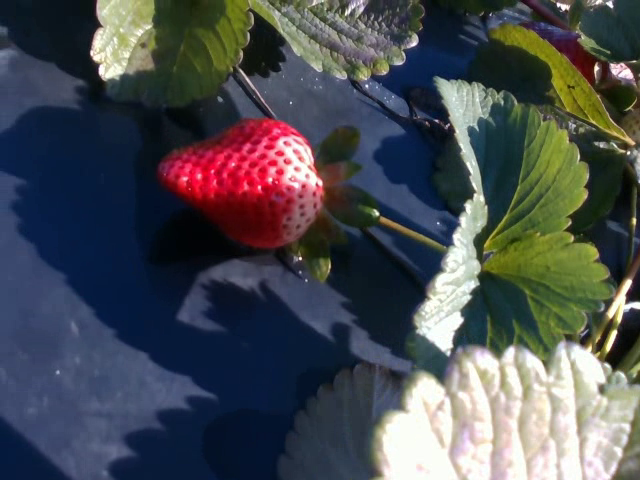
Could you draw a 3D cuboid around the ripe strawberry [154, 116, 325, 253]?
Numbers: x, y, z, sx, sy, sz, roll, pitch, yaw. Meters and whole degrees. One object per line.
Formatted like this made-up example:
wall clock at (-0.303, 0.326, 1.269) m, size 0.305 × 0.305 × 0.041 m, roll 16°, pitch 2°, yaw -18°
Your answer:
ripe strawberry at (-0.021, -0.015, 0.165) m, size 0.055 × 0.042 × 0.044 m, roll 2°, pitch 2°, yaw -34°
